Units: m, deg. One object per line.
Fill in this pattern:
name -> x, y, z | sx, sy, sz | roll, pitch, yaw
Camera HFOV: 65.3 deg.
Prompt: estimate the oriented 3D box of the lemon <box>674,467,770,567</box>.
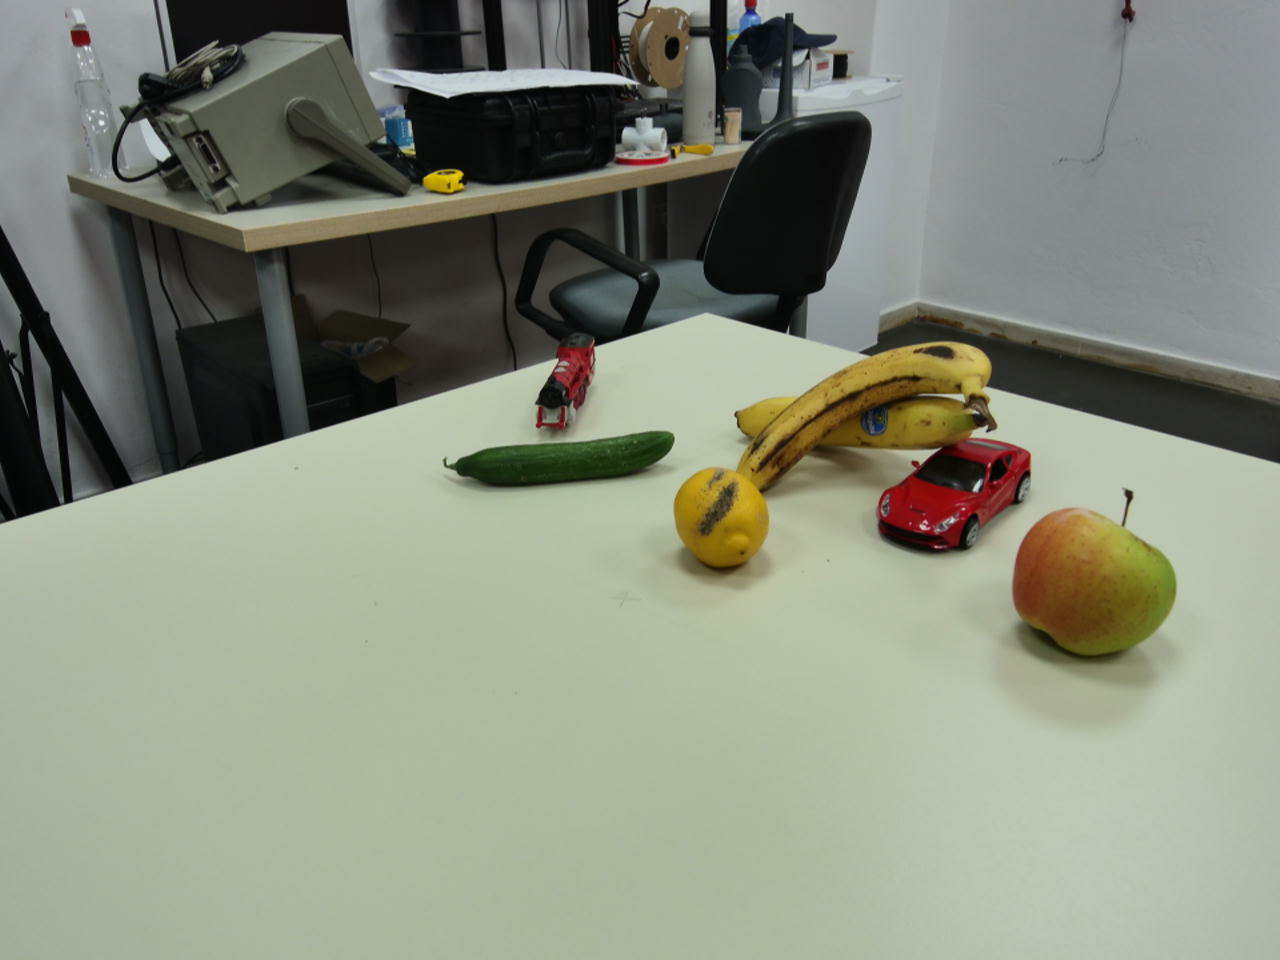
lemon -> 0.050, 0.022, 0.603 | 0.061, 0.056, 0.058 | 19, 30, 36
